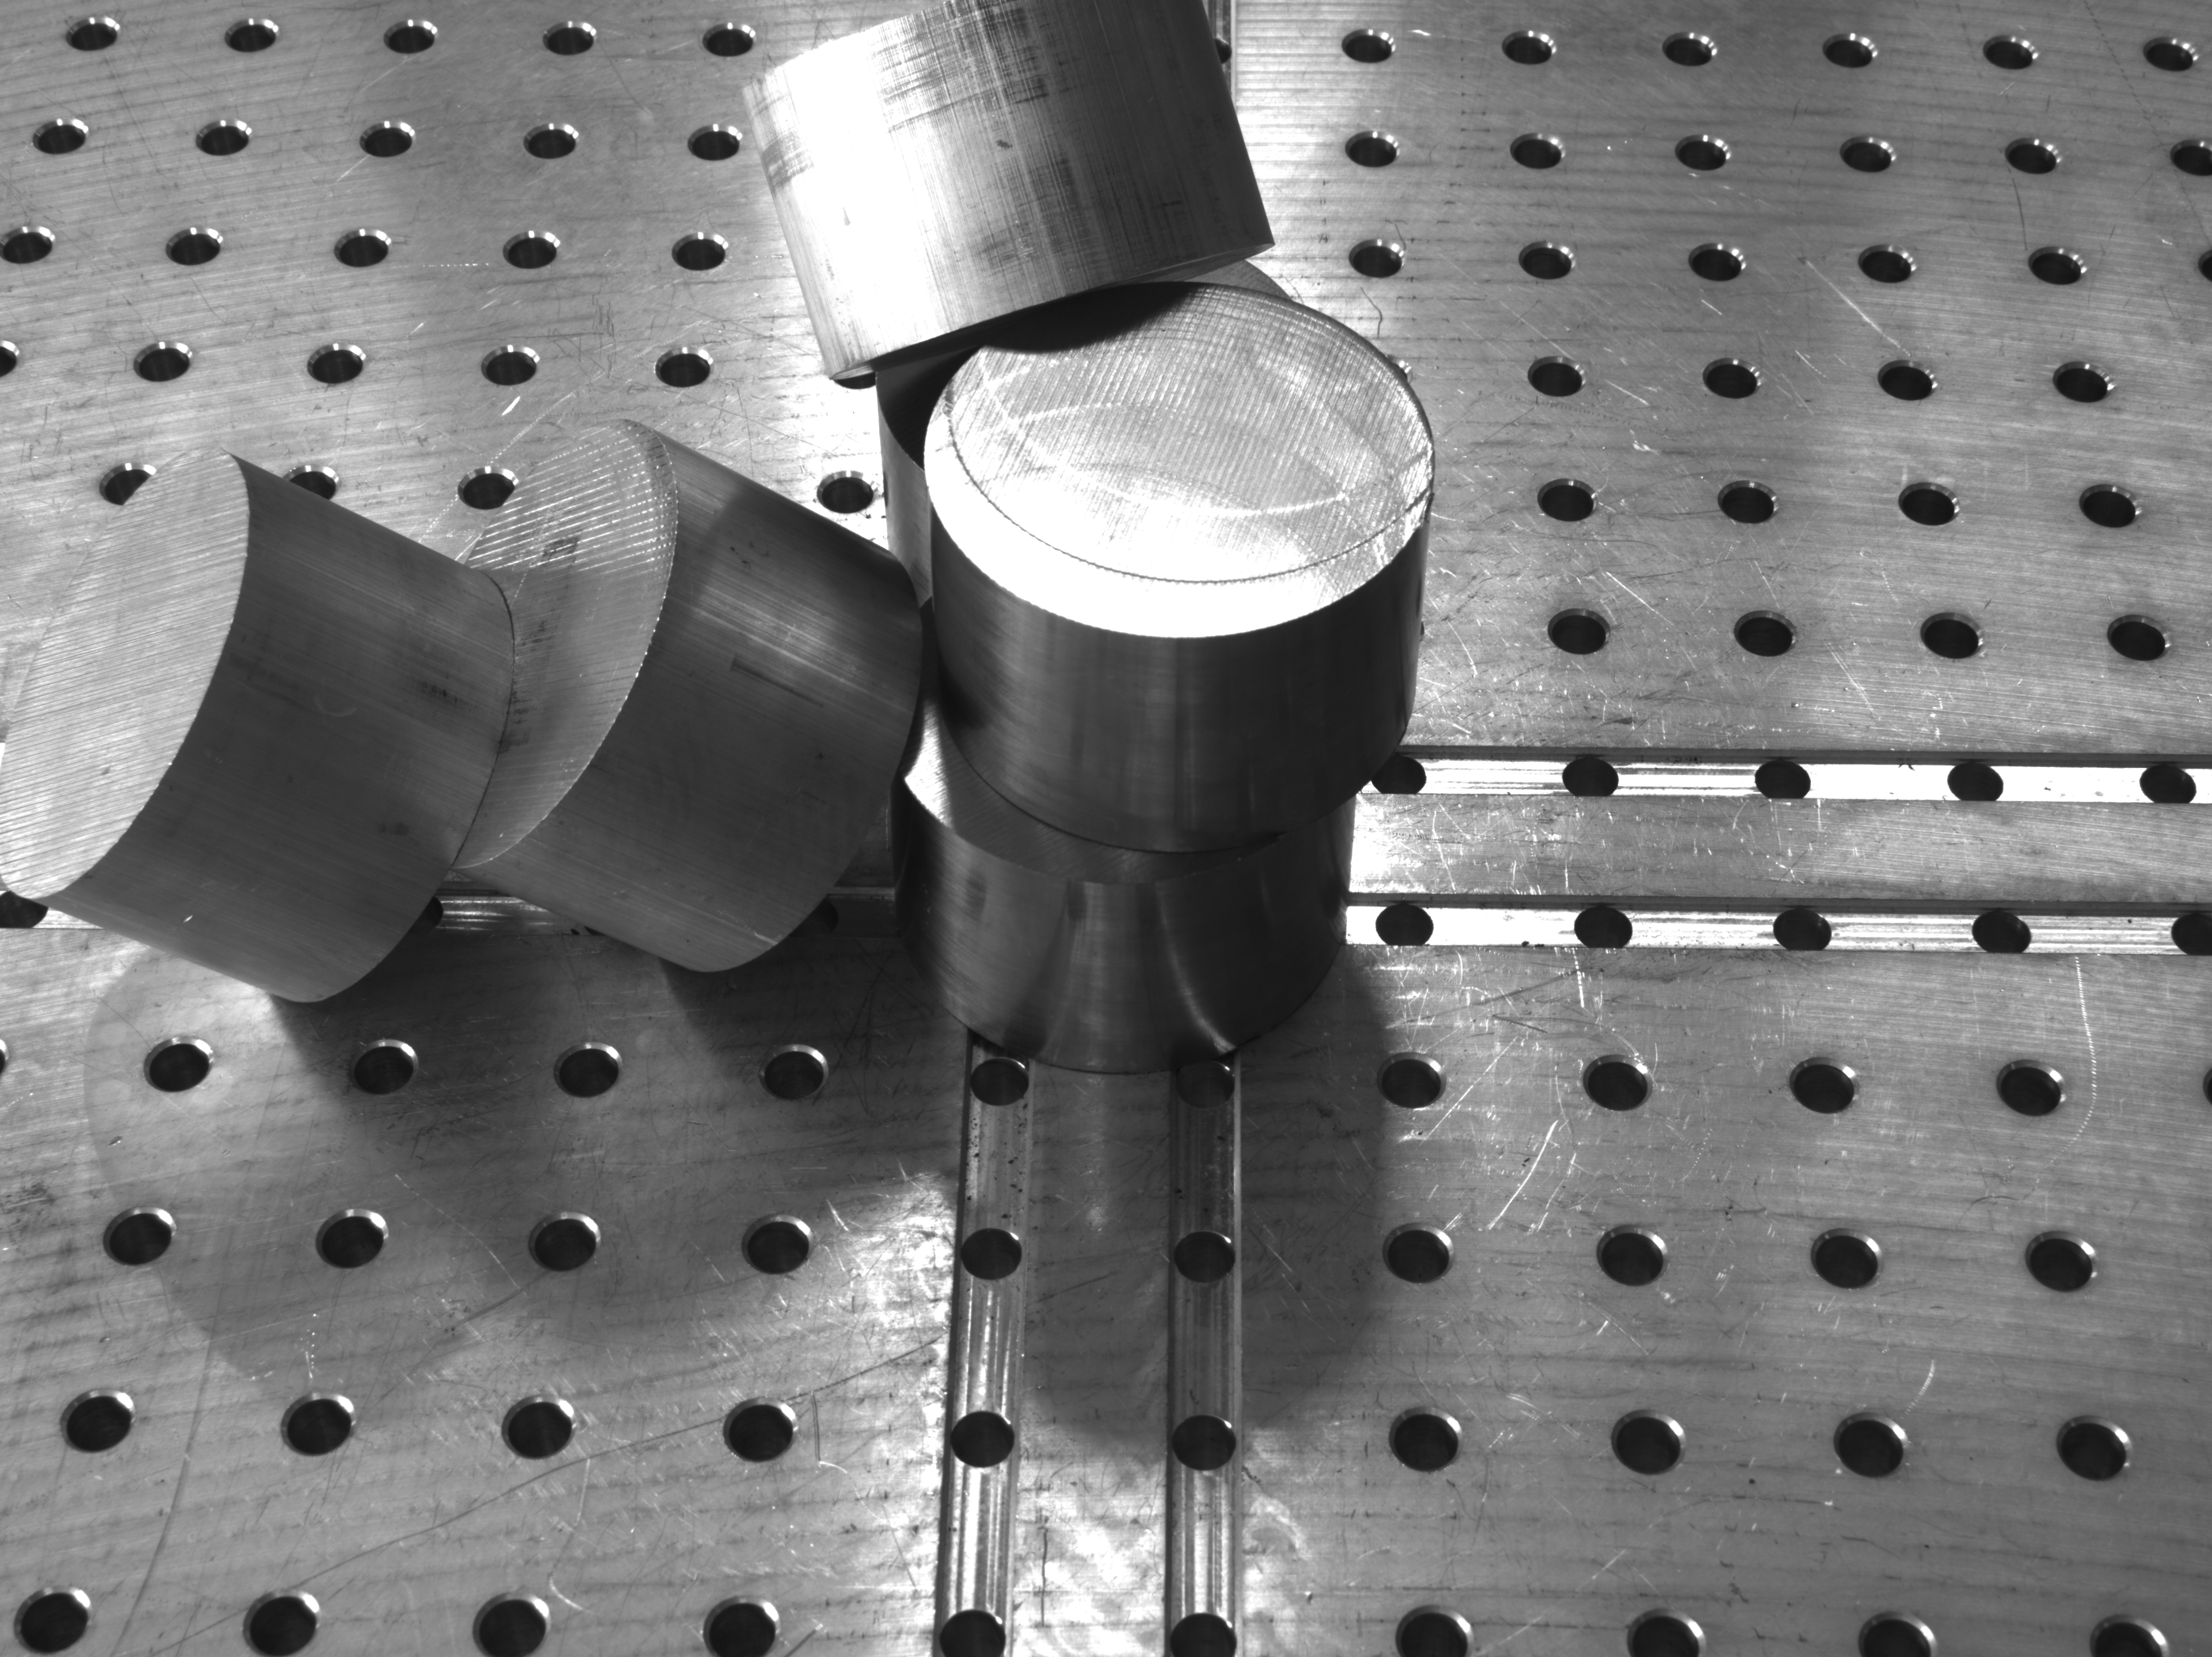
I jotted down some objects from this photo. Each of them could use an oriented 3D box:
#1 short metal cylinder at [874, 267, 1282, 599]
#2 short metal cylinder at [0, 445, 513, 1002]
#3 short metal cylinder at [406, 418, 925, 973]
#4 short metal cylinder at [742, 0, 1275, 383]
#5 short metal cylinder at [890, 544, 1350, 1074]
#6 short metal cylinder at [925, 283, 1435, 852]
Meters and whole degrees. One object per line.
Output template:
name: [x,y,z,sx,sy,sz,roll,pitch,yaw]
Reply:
short metal cylinder: [-0.002,-0.067,0.685,0.080,0.050,0.080,0,50,0]
short metal cylinder: [-0.143,-0.017,0.616,0.050,0.080,0.080,26,39,-35]
short metal cylinder: [-0.075,-0.022,0.619,0.050,0.080,0.080,26,39,-34]
short metal cylinder: [-0.017,-0.112,0.630,0.080,0.080,0.050,-19,95,-15]
short metal cylinder: [0.003,-0.005,0.633,0.080,0.050,0.080,0,50,0]
short metal cylinder: [0.012,-0.043,0.598,0.080,0.050,0.080,0,50,0]
